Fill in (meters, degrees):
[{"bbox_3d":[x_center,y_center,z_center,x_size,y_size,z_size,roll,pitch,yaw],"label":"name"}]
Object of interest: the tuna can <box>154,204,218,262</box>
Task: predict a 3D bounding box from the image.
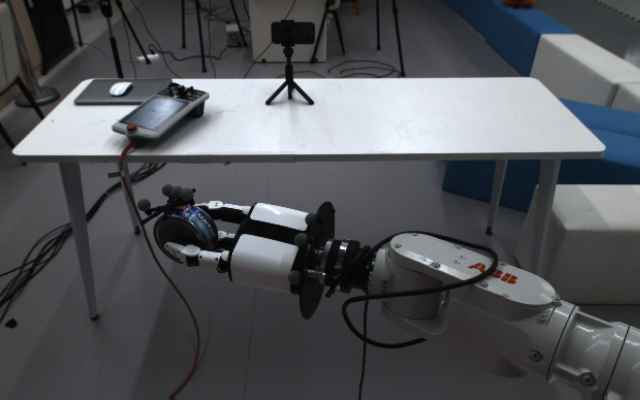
[{"bbox_3d":[-0.186,0.055,0.679,0.085,0.085,0.034,11,34,13],"label":"tuna can"}]
